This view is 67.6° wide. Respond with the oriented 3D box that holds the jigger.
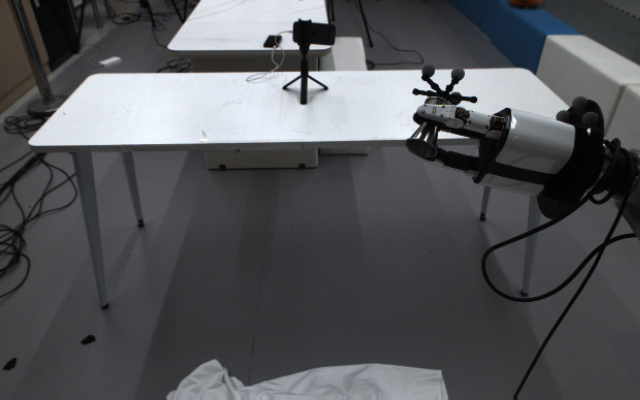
[{"bbox_3d":[0.143,-0.099,0.633,0.043,0.043,0.071,19,72,23],"label":"jigger"}]
